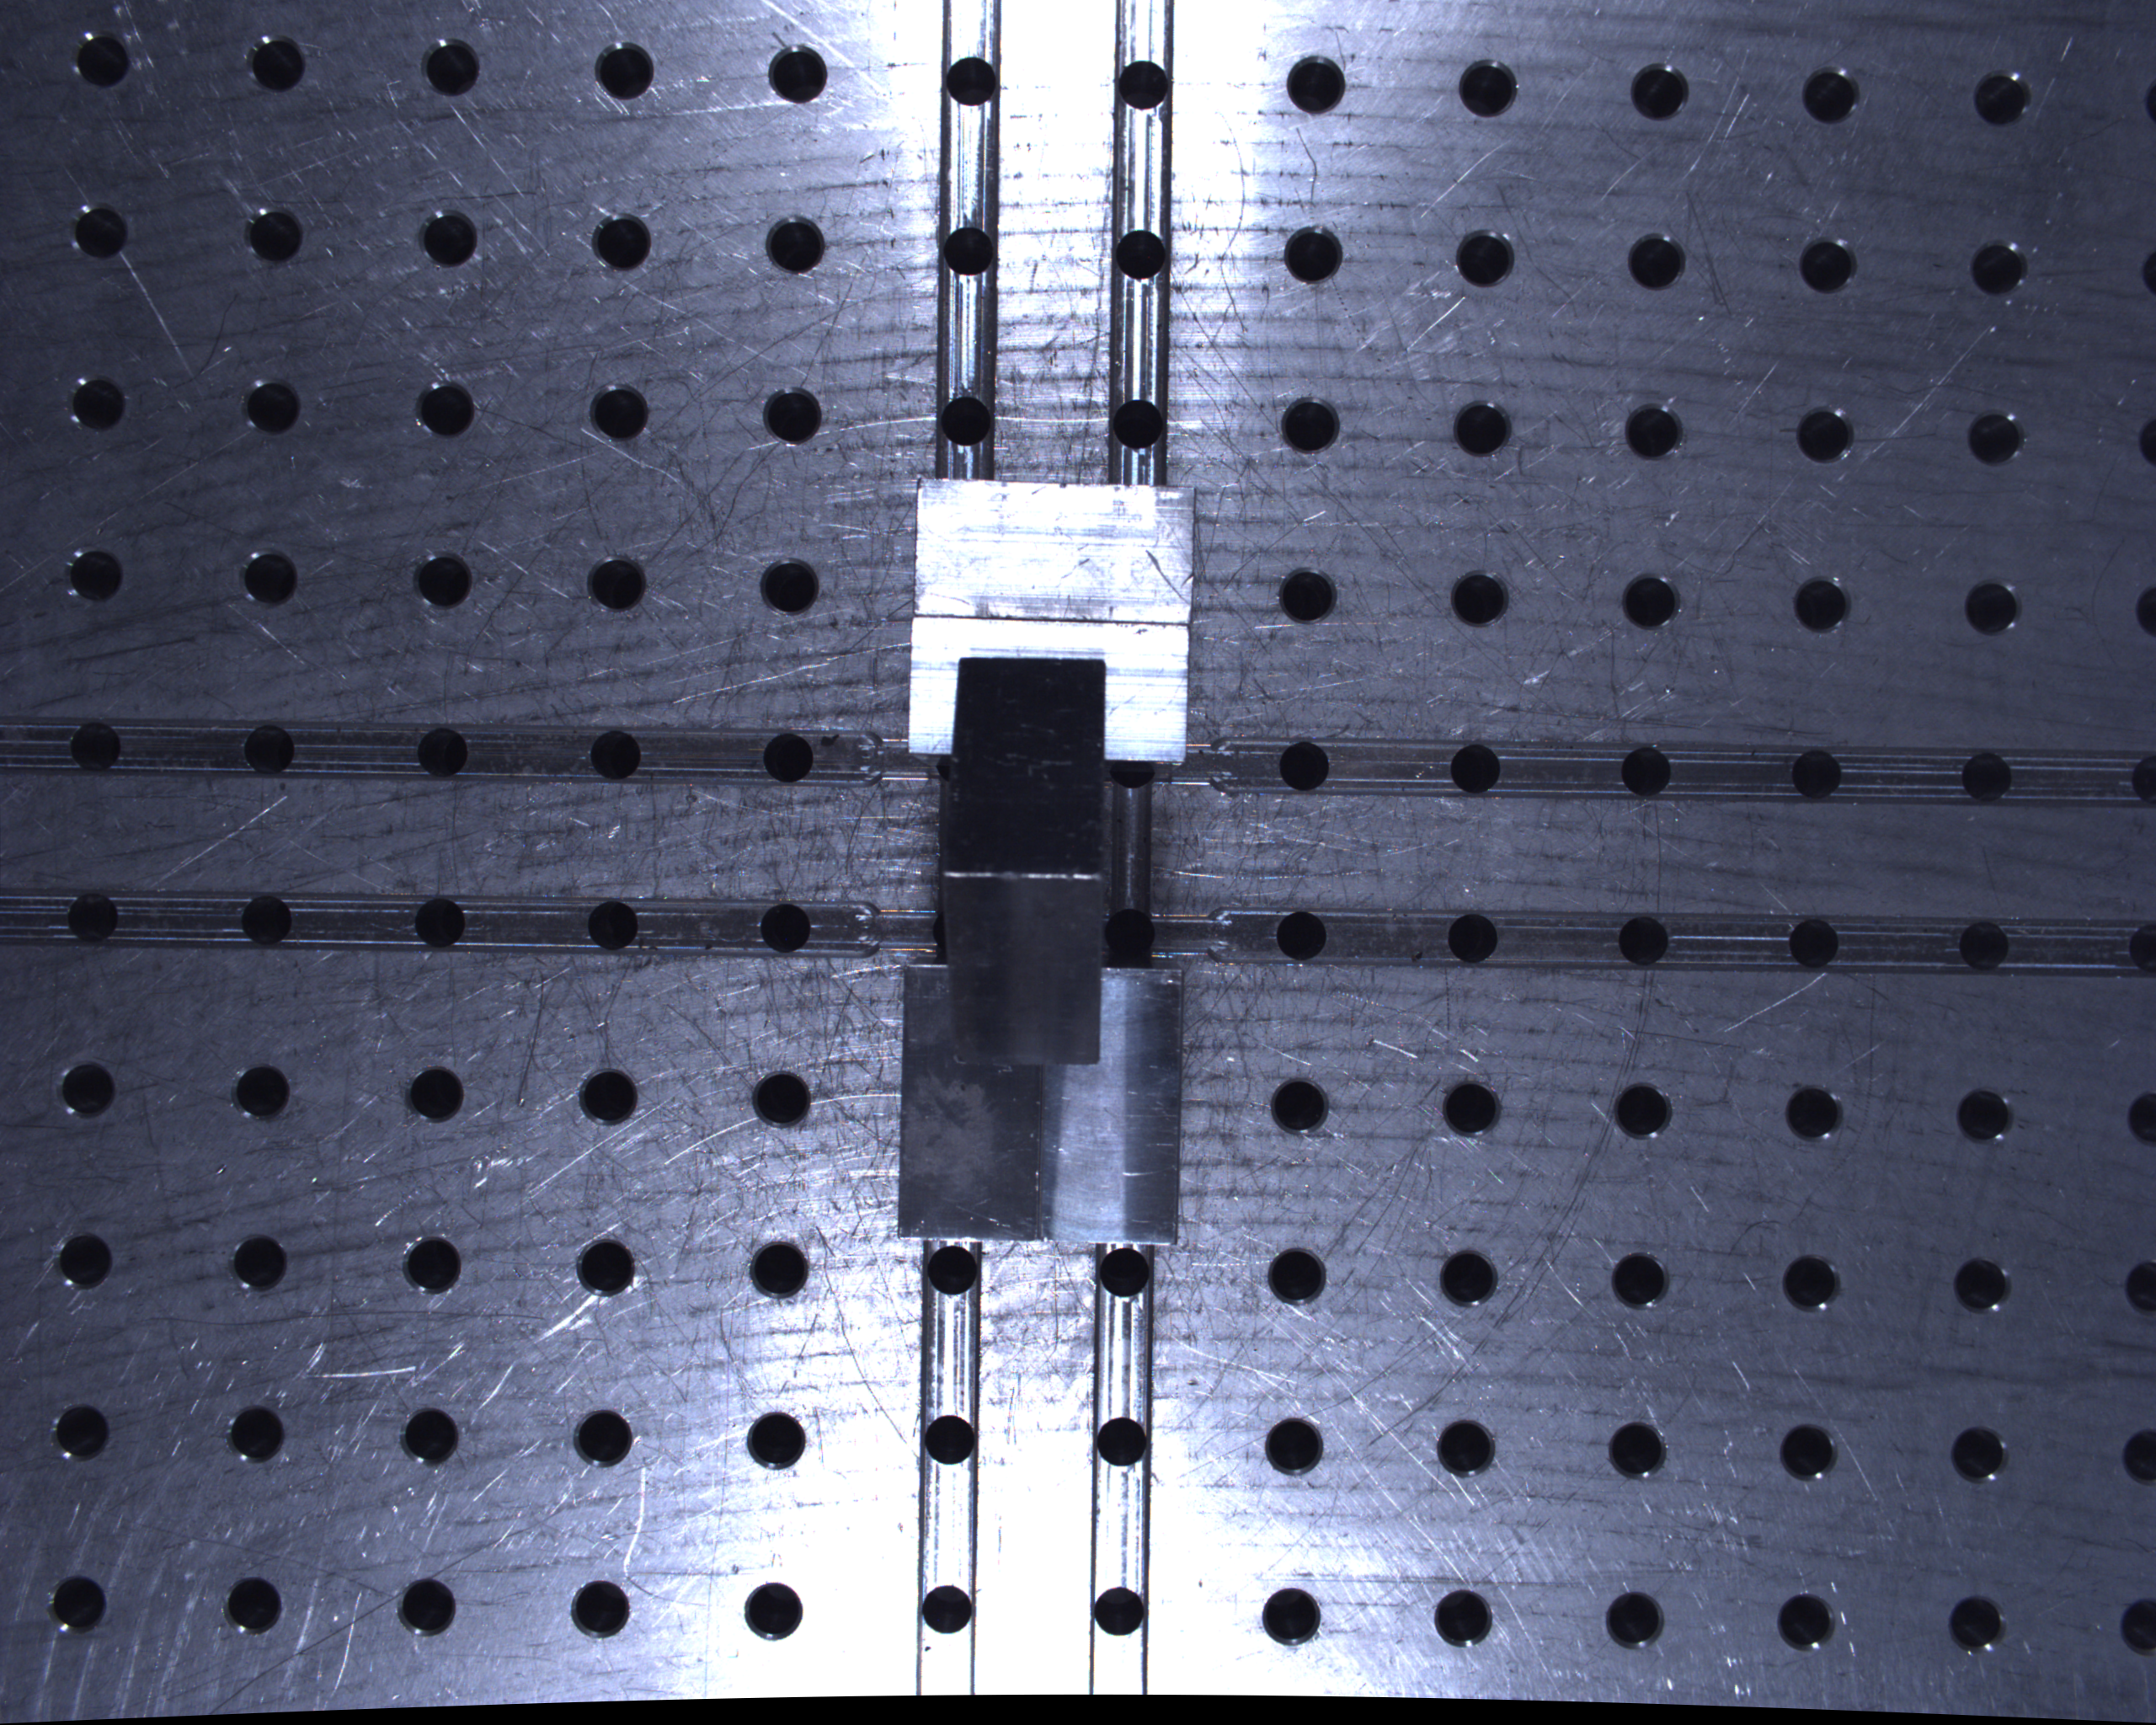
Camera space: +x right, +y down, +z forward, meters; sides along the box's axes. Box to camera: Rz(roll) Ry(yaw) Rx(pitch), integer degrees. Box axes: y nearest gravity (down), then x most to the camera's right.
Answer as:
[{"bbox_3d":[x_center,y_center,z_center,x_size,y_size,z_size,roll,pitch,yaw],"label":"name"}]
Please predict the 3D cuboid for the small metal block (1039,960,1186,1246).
[{"bbox_3d":[0.006,0.044,0.400,0.025,0.050,0.050,1,90,0],"label":"small metal block"}]

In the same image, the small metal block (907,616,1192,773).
[{"bbox_3d":[-0.005,-0.031,0.400,0.050,0.050,0.025,2,90,-1],"label":"small metal block"}]

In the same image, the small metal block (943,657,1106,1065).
[{"bbox_3d":[-0.008,0.000,0.359,0.025,0.050,0.050,1,48,0],"label":"small metal block"}]

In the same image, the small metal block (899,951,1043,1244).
[{"bbox_3d":[-0.019,0.043,0.400,0.025,0.050,0.050,1,90,0],"label":"small metal block"}]

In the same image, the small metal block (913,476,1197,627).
[{"bbox_3d":[-0.004,-0.056,0.400,0.050,0.050,0.025,2,90,-1],"label":"small metal block"}]
